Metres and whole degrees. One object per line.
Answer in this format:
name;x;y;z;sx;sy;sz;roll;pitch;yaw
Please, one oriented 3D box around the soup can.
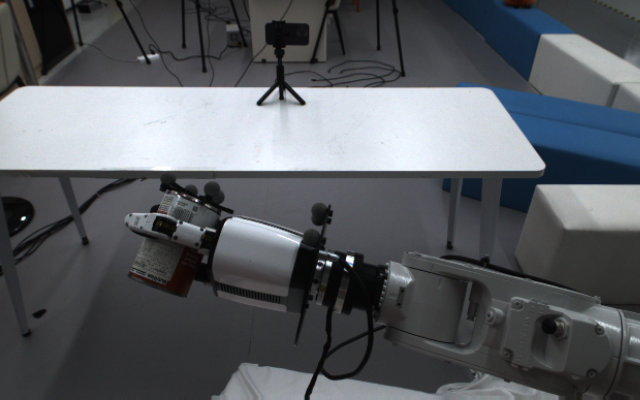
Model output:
soup can;-0.158;0.050;0.536;0.067;0.067;0.101;16;75;19
